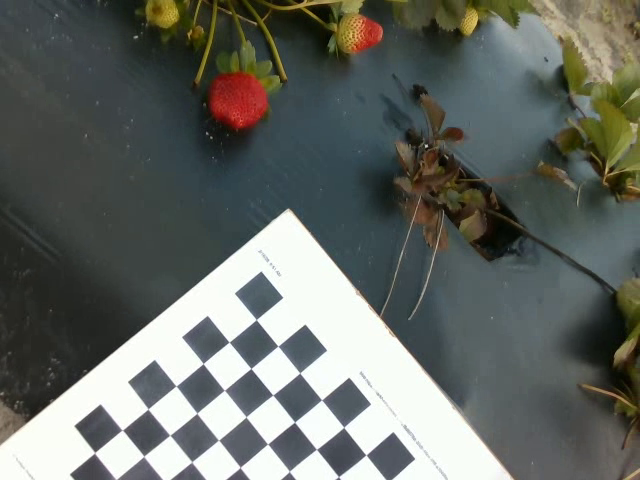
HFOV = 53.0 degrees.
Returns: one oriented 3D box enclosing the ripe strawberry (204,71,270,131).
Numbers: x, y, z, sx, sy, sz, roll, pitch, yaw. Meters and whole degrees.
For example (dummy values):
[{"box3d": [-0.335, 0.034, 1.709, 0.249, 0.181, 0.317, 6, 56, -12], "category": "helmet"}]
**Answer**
[{"box3d": [-0.057, -0.091, 0.429, 0.045, 0.042, 0.055, 1, 27, 4], "category": "ripe strawberry"}]
